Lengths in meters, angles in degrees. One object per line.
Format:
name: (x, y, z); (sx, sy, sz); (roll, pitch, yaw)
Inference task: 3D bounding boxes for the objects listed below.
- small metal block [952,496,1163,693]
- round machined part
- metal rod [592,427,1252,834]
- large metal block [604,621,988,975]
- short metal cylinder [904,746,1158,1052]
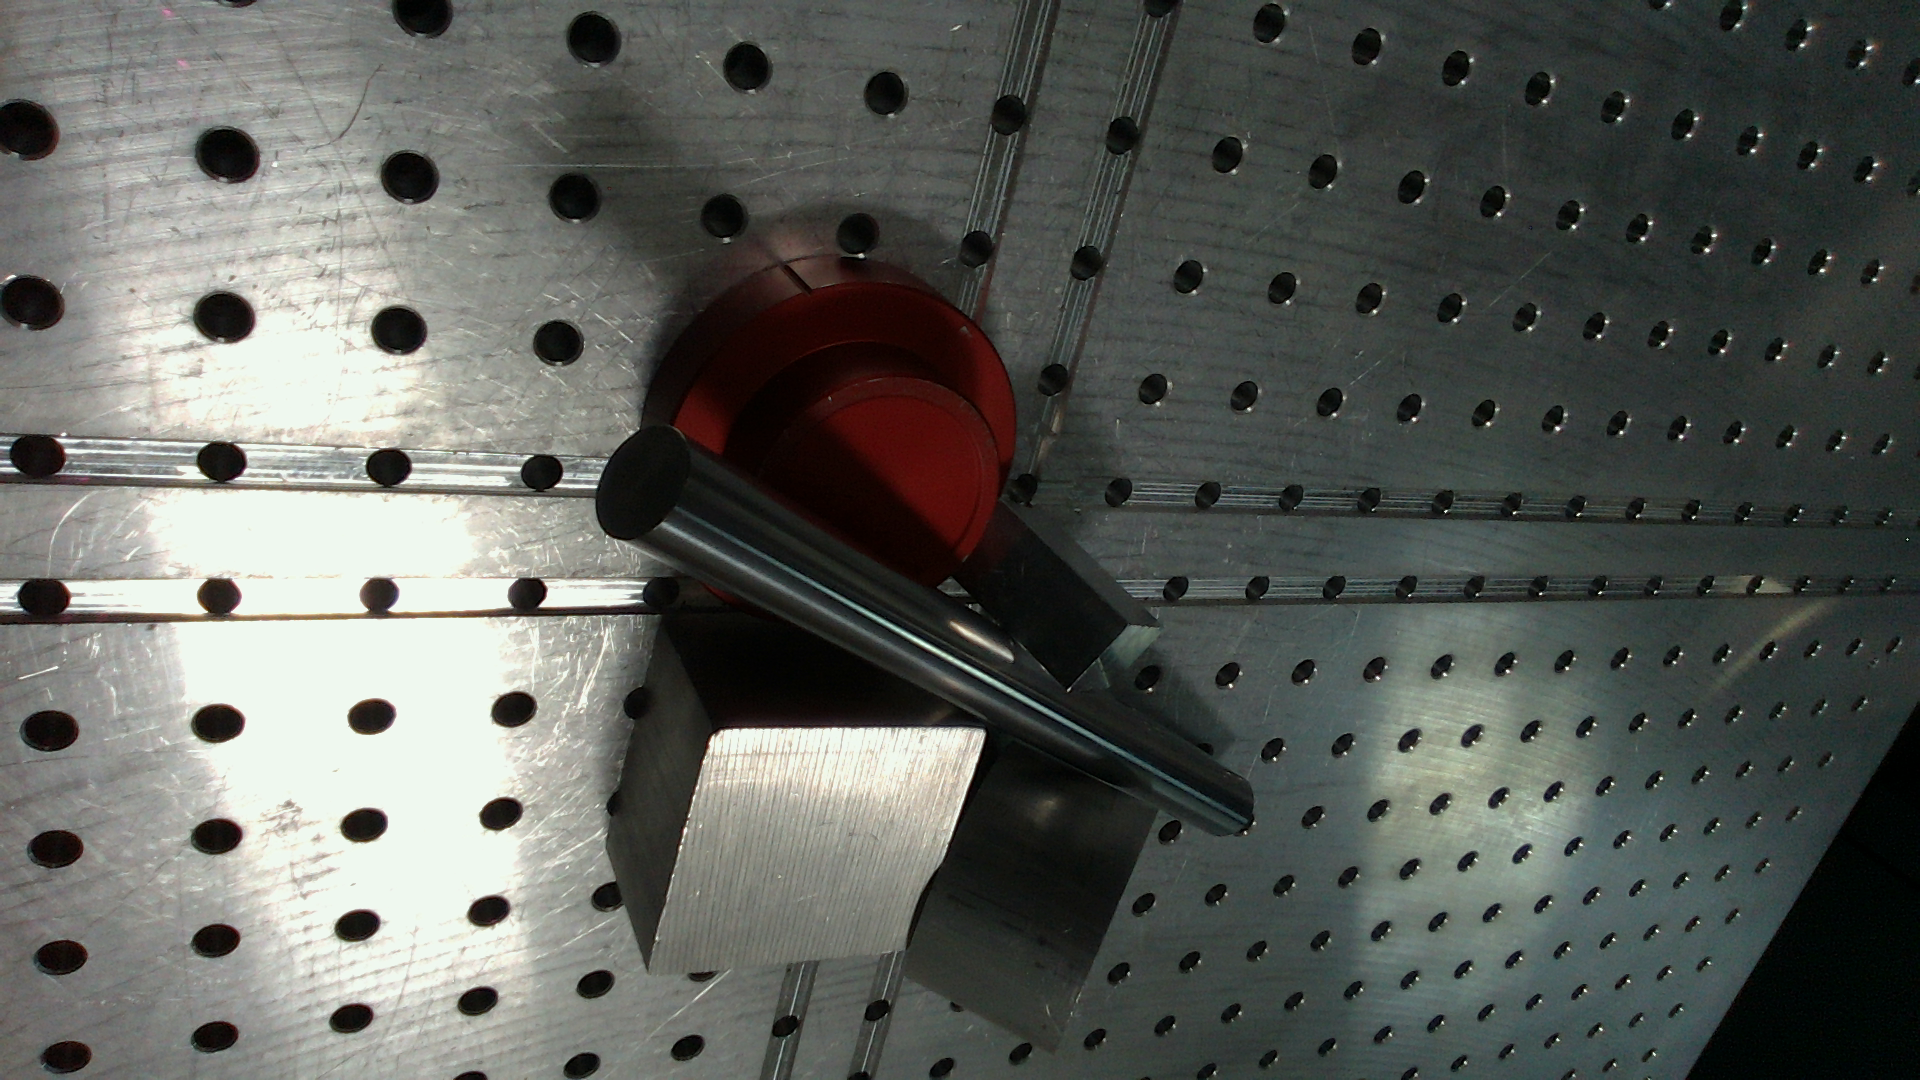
small metal block: (0.027, 0.016, 0.388); (0.025, 0.050, 0.050); (-48, 163, 9)
round machined part: (-0.029, -0.020, 0.353); (0.098, 0.042, 0.098); (-14, 124, -21)
metal rod: (0.016, 0.042, 0.385); (0.025, 0.025, 0.301); (-49, 141, 6)
large metal block: (-0.048, 0.072, 0.391); (0.080, 0.050, 0.080); (5, 116, -30)
short metal cylinder: (0.023, 0.110, 0.428); (0.080, 0.050, 0.080); (23, 91, -79)
